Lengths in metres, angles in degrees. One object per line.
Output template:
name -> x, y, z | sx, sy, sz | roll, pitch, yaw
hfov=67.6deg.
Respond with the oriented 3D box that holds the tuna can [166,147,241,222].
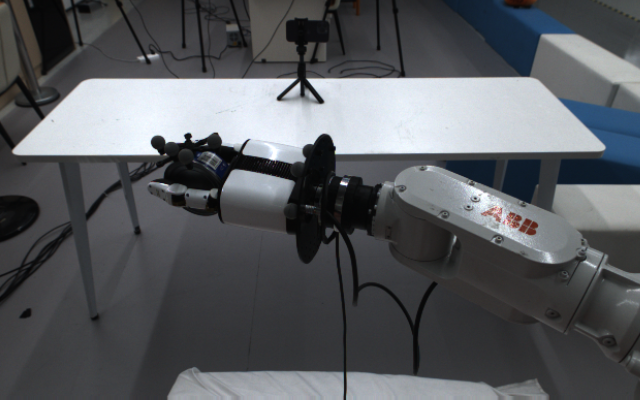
tuna can -> -0.151, -0.021, 0.621 | 0.085, 0.085, 0.034 | 11, 38, 12
